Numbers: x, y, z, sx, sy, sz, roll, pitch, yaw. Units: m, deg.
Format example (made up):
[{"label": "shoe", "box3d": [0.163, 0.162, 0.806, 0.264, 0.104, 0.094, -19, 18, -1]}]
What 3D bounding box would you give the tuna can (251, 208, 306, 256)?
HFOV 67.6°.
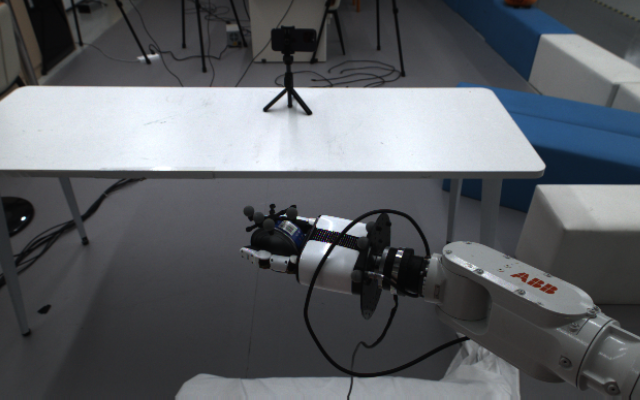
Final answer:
[{"label": "tuna can", "box3d": [-0.062, 0.070, 0.757, 0.085, 0.085, 0.034, 17, 36, 20]}]
